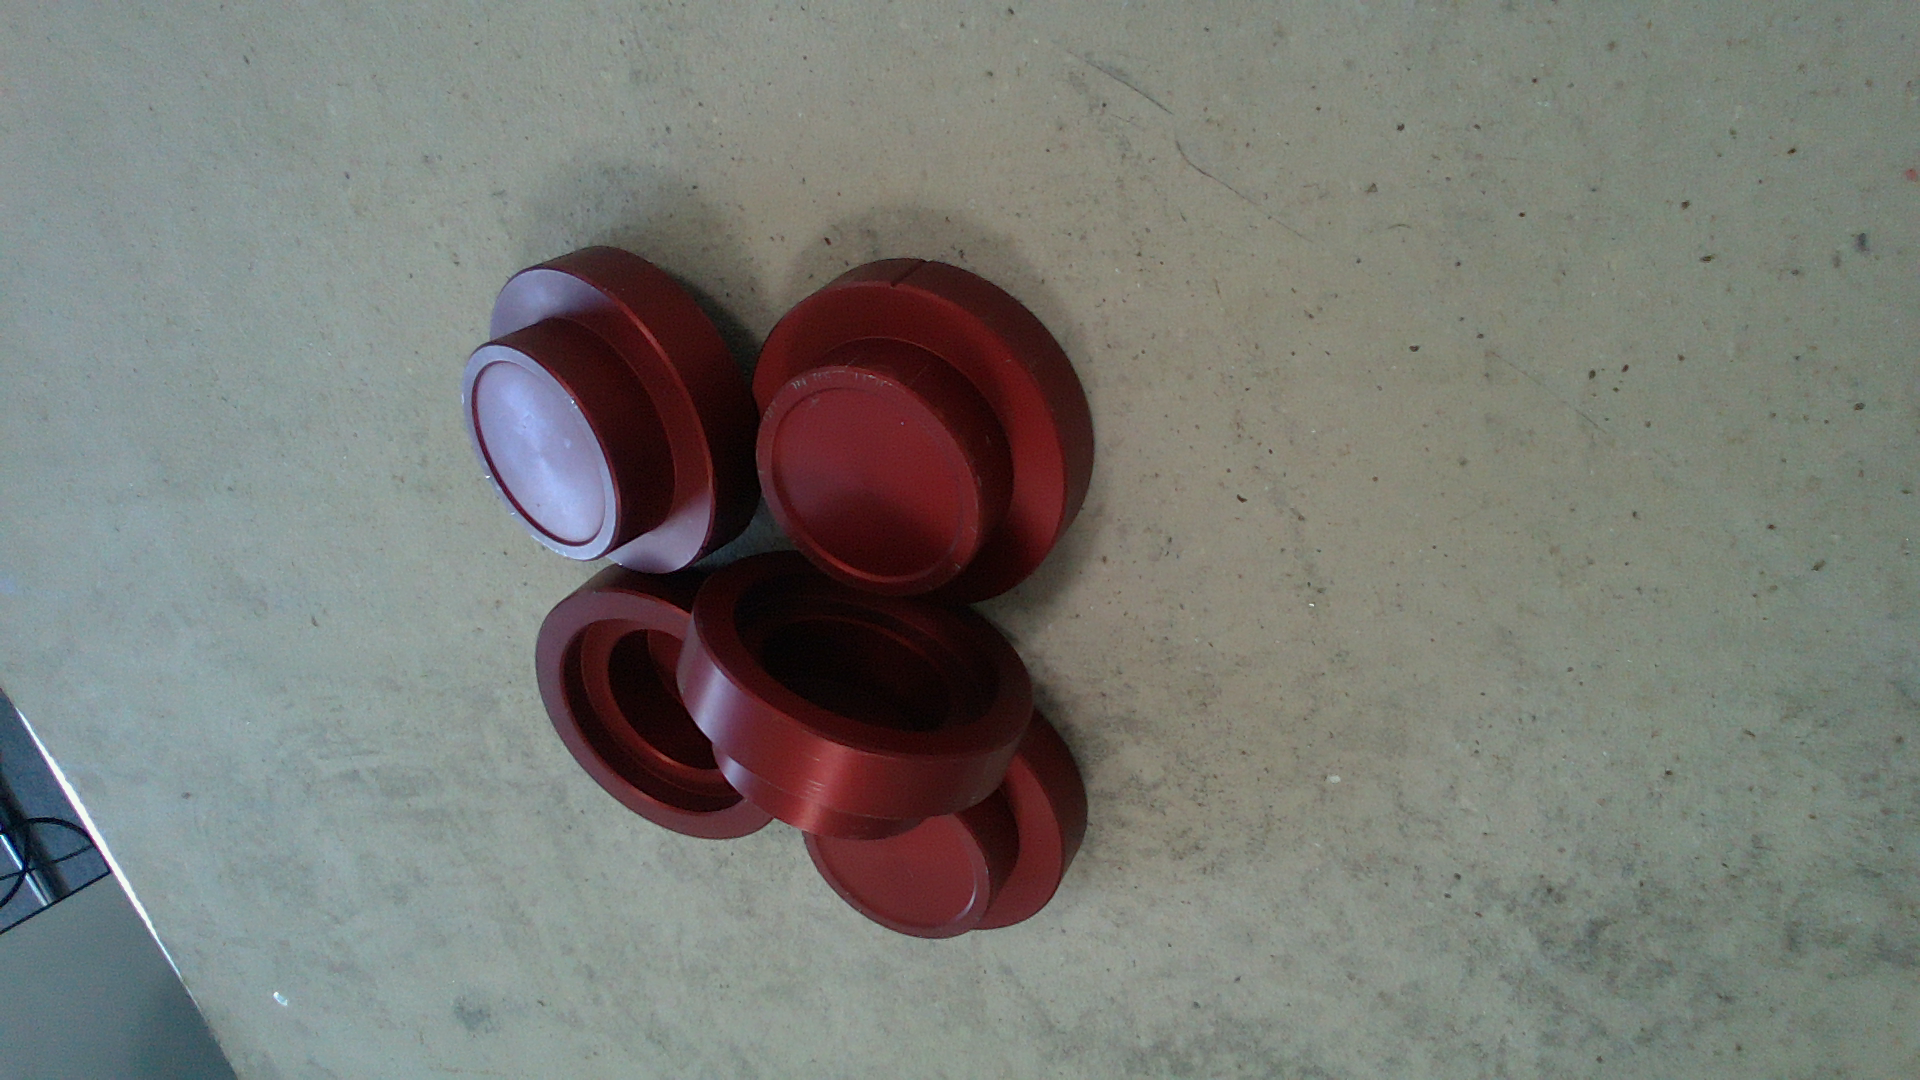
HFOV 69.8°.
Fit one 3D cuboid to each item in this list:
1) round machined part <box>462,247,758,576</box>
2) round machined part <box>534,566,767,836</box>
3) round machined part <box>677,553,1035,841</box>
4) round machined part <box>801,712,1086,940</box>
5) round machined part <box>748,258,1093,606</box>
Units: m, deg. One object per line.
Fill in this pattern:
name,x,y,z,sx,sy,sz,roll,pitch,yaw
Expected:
round machined part,-0.108,-0.033,0.406,0.098,0.042,0.098,23,130,31
round machined part,-0.089,0.048,0.459,0.098,0.042,0.098,14,126,20
round machined part,-0.032,0.047,0.388,0.098,0.098,0.042,26,114,12
round machined part,-0.012,0.088,0.443,0.098,0.042,0.098,13,122,21
round machined part,-0.017,-0.024,0.376,0.098,0.042,0.098,13,123,21
